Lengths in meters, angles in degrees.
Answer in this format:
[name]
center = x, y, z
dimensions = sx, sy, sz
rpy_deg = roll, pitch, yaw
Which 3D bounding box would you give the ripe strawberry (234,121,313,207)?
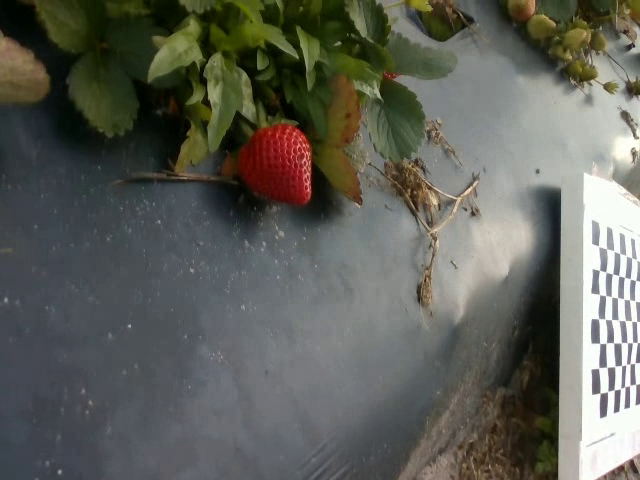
[ripe strawberry]
center = -0.022, -0.035, 0.319
dimensions = 0.043, 0.051, 0.042
rpy_deg = -14, -21, -49
